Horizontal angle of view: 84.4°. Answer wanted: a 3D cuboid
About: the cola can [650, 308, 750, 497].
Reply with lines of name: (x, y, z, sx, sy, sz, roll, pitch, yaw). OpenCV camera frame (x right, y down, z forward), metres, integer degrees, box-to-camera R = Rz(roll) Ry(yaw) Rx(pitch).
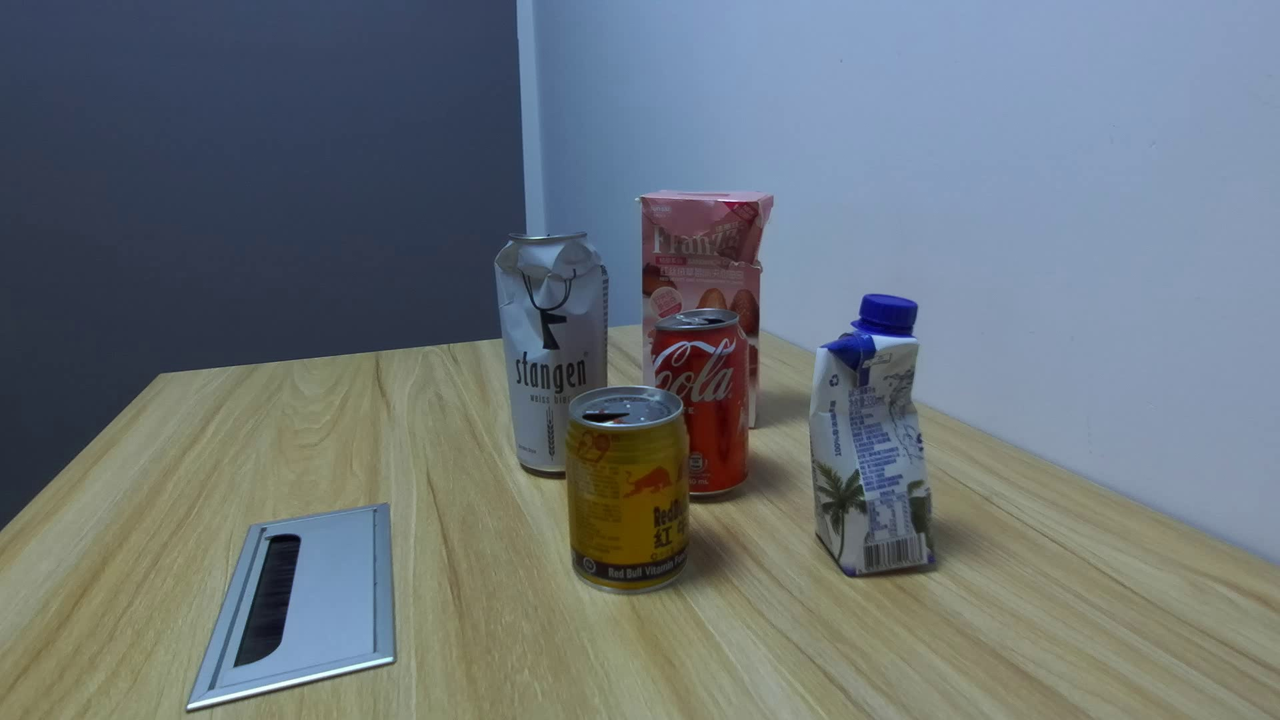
cola can: (0.041, 0.028, 0.468, 0.065, 0.117, 0.072, 9, 20, 28)

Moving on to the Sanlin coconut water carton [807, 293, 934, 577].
Sanlin coconut water carton: (0.119, 0.039, 0.383, 0.068, 0.144, 0.056, -11, 11, -7)

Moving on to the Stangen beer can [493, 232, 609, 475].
Stangen beer can: (-0.059, -0.003, 0.497, 0.065, 0.166, 0.066, 9, 16, 41)

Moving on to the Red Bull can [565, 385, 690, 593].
Red Bull can: (-0.007, 0.067, 0.379, 0.067, 0.093, 0.067, -1, 18, 1)

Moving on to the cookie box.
cookie box: (0.052, -0.039, 0.573, 0.104, 0.186, 0.059, 7, 20, 21)
